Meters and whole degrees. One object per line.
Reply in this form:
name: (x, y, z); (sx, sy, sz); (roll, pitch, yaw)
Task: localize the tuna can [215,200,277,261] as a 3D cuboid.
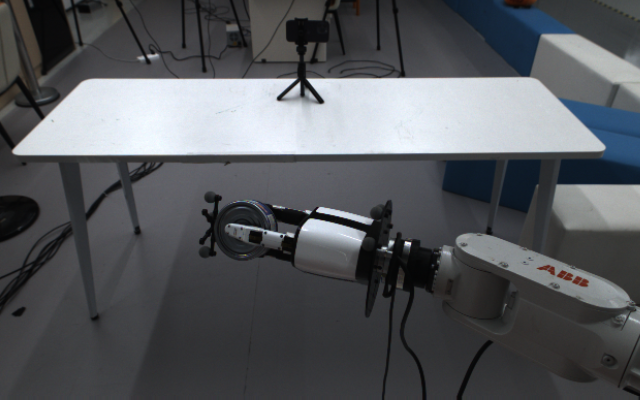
tuna can: (-0.105, 0.041, 0.684); (0.085, 0.085, 0.034); (10, 3, 11)
